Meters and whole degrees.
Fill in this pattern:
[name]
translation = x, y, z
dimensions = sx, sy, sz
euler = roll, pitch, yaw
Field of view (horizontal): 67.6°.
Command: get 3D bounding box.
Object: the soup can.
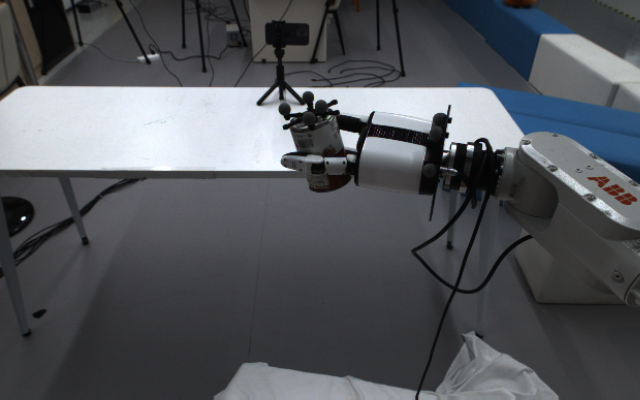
[soup can]
translation = 0.002, -0.071, 0.689
dimensions = 0.067, 0.101, 0.067
euler = -13, 31, 8
